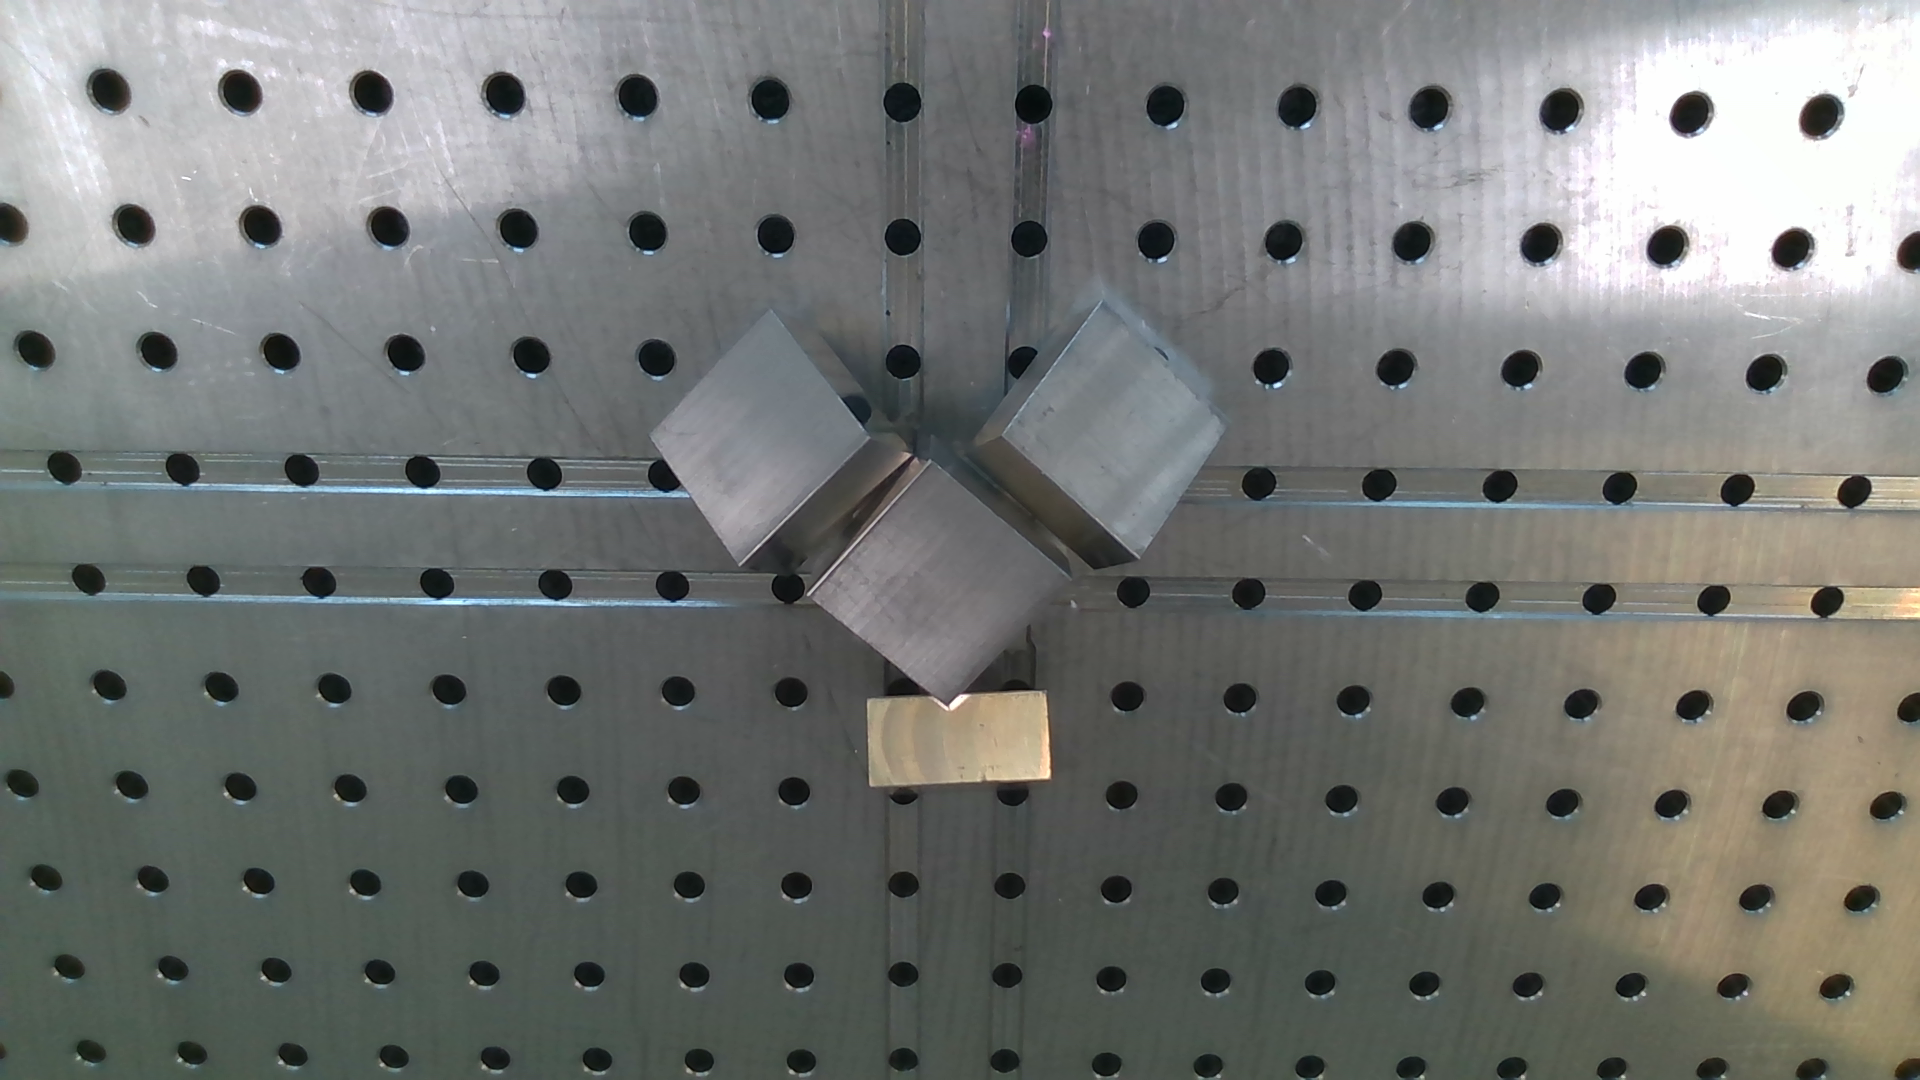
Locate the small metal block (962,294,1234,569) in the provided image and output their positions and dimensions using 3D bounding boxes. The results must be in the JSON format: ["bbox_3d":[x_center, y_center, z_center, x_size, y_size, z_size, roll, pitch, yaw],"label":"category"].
[{"bbox_3d":[0.038,-0.029,0.372,0.050,0.025,0.050,41,69,-14],"label":"small metal block"}]

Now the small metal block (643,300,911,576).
[{"bbox_3d":[-0.050,-0.027,0.372,0.050,0.025,0.050,-43,67,14],"label":"small metal block"}]

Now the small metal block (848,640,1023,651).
[{"bbox_3d":[-0.006,0.003,0.397,0.050,0.025,0.050,2,110,2],"label":"small metal block"}]

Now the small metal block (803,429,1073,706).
[{"bbox_3d":[-0.006,0.008,0.371,0.050,0.025,0.050,39,106,-14],"label":"small metal block"}]

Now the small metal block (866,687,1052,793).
[{"bbox_3d":[0.000,0.059,0.401,0.050,0.050,0.025,-3,77,1],"label":"small metal block"}]
